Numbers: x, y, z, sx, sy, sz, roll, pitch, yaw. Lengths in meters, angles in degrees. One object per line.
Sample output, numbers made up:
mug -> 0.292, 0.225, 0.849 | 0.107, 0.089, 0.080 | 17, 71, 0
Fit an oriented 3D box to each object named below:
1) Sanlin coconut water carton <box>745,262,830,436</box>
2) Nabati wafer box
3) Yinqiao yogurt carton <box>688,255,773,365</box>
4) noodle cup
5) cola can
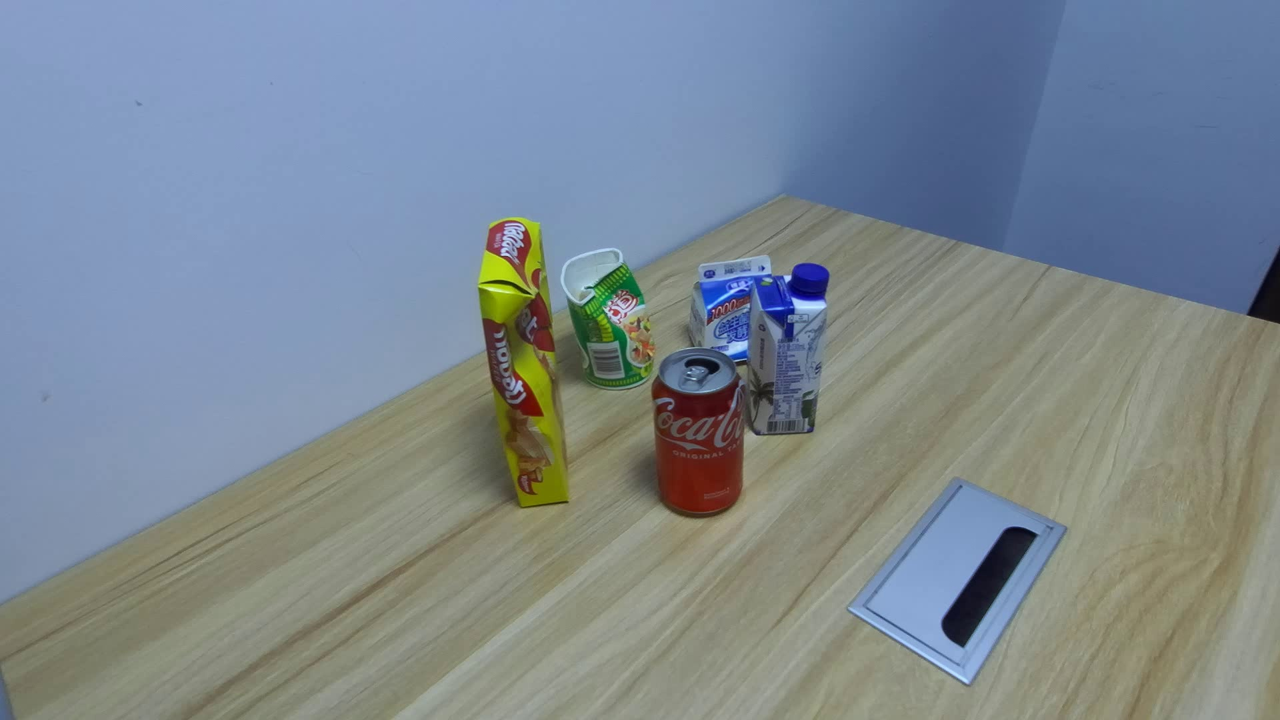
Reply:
Sanlin coconut water carton -> 0.119, -0.009, 0.578 | 0.061, 0.144, 0.060 | -4, 36, 1
Nabati wafer box -> -0.084, 0.008, 0.528 | 0.042, 0.204, 0.106 | -5, 33, -3
Yinqiao yogurt carton -> 0.092, -0.050, 0.683 | 0.077, 0.094, 0.071 | -7, 24, -3
noodle cup -> -0.026, -0.037, 0.665 | 0.083, 0.122, 0.075 | -35, 37, -22
cola can -> 0.044, 0.053, 0.521 | 0.068, 0.120, 0.067 | -2, 34, 2
